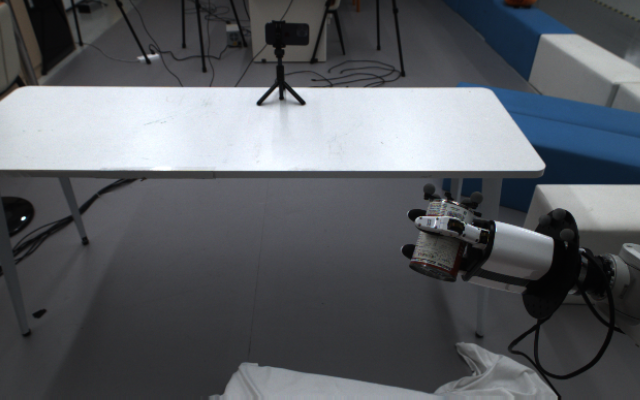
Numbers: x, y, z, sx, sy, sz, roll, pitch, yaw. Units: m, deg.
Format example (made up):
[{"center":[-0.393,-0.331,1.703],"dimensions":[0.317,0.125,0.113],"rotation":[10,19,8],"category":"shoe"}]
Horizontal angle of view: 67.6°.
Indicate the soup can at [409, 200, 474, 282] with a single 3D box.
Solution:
[{"center":[0.174,0.055,0.692],"dimensions":[0.067,0.067,0.101],"rotation":[16,76,19],"category":"soup can"}]
